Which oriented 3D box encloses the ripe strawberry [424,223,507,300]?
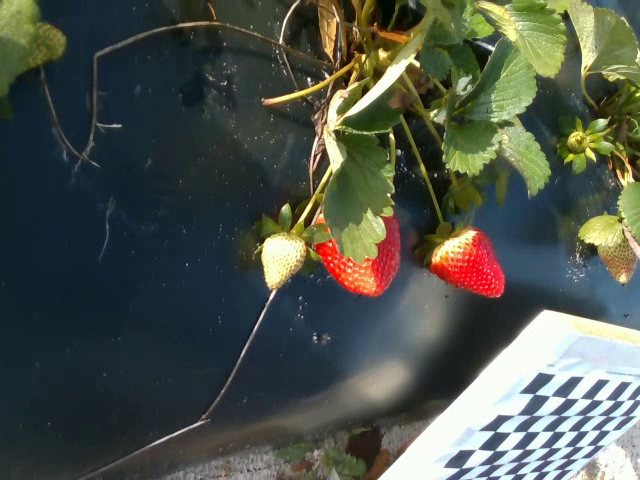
[{"bbox_3d":[0.071,0.012,0.269,0.037,0.039,0.033,-38,-21,22],"label":"ripe strawberry"}]

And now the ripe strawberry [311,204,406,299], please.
[{"bbox_3d":[0.018,0.003,0.225,0.035,0.036,0.041,2,-27,-27],"label":"ripe strawberry"}]
